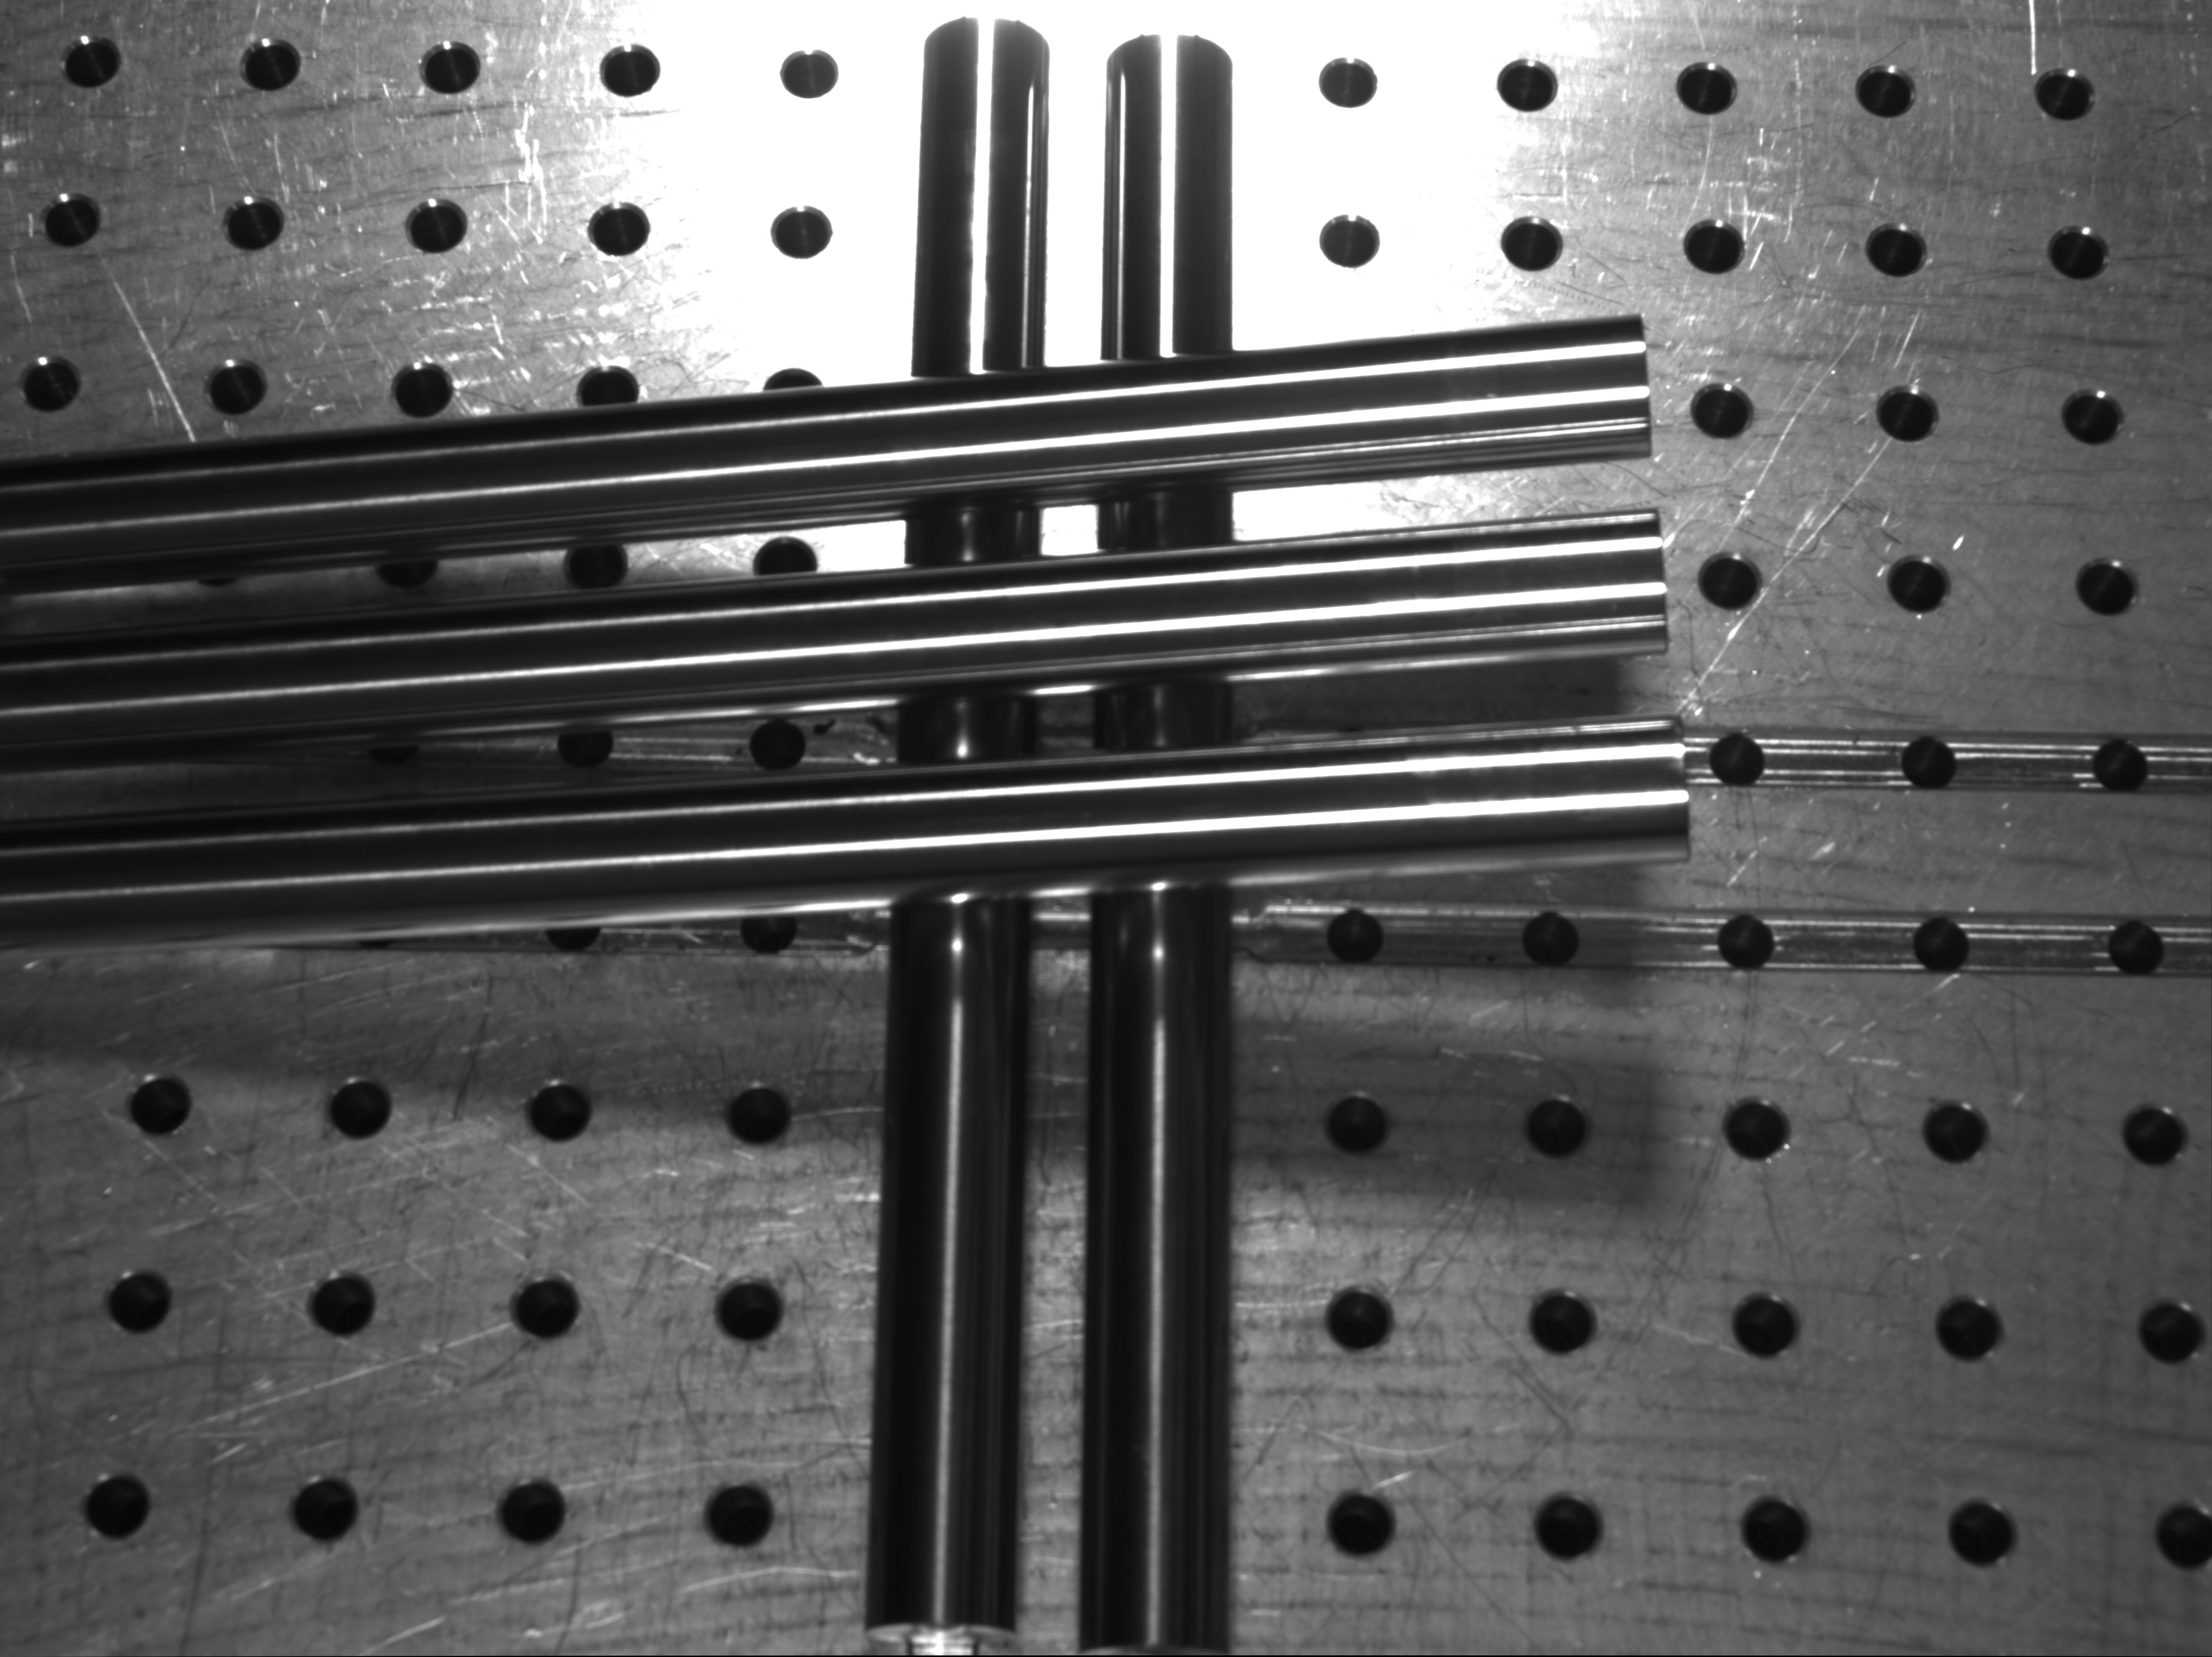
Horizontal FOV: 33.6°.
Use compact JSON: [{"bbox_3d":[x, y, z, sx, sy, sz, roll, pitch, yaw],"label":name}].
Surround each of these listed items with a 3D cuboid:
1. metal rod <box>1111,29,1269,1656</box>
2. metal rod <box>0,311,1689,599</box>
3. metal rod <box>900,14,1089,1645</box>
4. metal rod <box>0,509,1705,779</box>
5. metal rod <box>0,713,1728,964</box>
[{"bbox_3d":[0.016,-0.005,0.650,0.025,0.025,0.300,1,70,0],"label":"metal rod"},{"bbox_3d":[-0.049,-0.065,0.649,0.300,0.025,0.025,-4,70,7],"label":"metal rod"},{"bbox_3d":[-0.019,-0.009,0.651,0.025,0.025,0.300,1,70,0],"label":"metal rod"},{"bbox_3d":[-0.048,-0.031,0.637,0.300,0.025,0.025,-4,70,7],"label":"metal rod"},{"bbox_3d":[-0.046,0.002,0.624,0.300,0.025,0.025,-3,70,8],"label":"metal rod"}]
